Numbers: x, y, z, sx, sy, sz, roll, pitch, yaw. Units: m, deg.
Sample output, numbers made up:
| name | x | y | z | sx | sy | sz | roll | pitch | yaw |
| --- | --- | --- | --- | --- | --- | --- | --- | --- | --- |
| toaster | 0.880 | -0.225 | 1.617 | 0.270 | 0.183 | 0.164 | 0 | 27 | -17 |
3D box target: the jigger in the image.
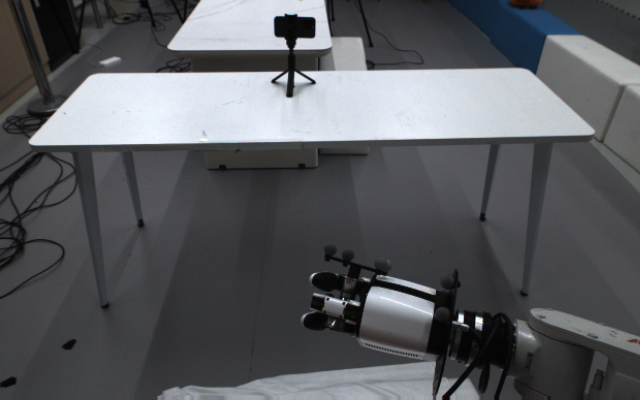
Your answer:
| name | x | y | z | sx | sy | sz | roll | pitch | yaw |
| --- | --- | --- | --- | --- | --- | --- | --- | --- | --- |
| jigger | 0.038 | 0.135 | 0.639 | 0.043 | 0.071 | 0.043 | 16 | -7 | 2 |
